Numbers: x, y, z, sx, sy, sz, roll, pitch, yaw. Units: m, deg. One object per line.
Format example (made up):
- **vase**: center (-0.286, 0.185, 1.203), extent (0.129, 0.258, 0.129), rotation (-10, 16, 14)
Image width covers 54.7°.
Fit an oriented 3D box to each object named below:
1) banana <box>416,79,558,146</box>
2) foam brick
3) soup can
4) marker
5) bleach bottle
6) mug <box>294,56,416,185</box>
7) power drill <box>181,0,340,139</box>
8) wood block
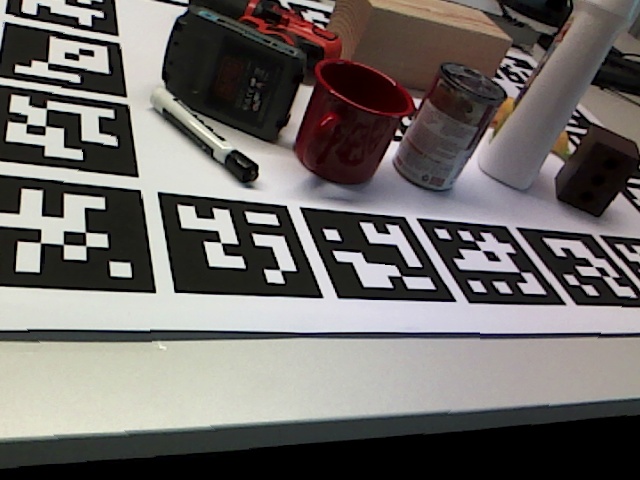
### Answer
- **banana**: center (0.207, -0.170, 0.768), extent (0.196, 0.039, 0.074), rotation (14, 51, -16)
- **foam brick**: center (0.299, -0.077, 0.679), extent (0.053, 0.078, 0.051), rotation (23, 35, 1)
- **soup can**: center (0.121, -0.108, 0.586), extent (0.068, 0.102, 0.068), rotation (16, 33, -11)
- **marker**: center (-0.092, -0.074, 0.509), extent (0.121, 0.019, 0.019), rotation (41, 42, 20)
- **bleach bottle**: center (0.244, -0.175, 0.622), extent (0.068, 0.251, 0.103), rotation (21, 36, -4)
- **mug**: center (0.021, -0.097, 0.542), extent (0.093, 0.081, 0.117), rotation (31, 40, 6)
- **power drill**: center (-0.074, -0.186, 0.629), extent (0.184, 0.057, 0.187), rotation (23, 35, -7)
- **wood block**: center (0.115, -0.249, 0.777), extent (0.205, 0.091, 0.090), rotation (1, 44, -28)
